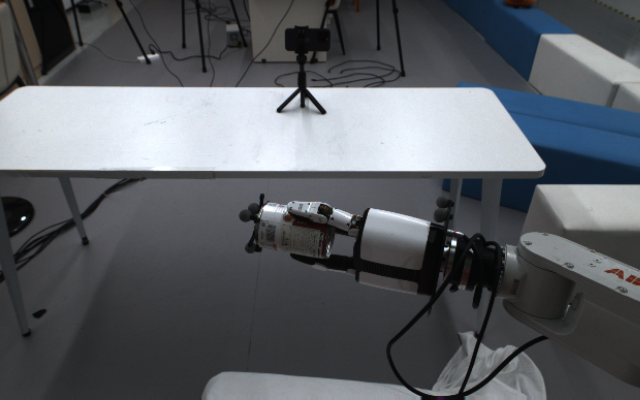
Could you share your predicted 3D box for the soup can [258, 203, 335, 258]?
[{"bbox_3d":[-0.031,0.044,0.685,0.101,0.067,0.067,9,35,9],"label":"soup can"}]
